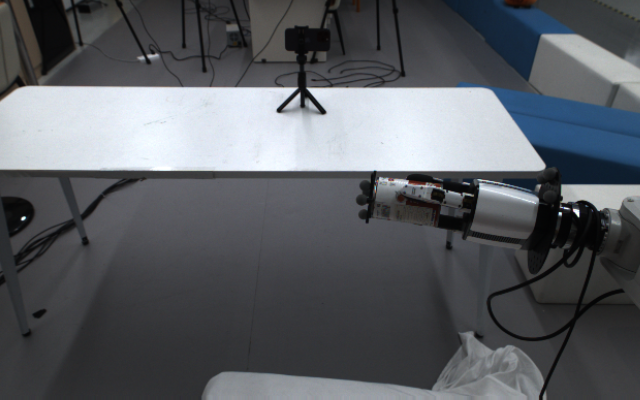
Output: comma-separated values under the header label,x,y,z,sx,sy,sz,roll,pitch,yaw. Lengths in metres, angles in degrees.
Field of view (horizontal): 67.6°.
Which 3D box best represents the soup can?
label,x,y,z,sx,sy,sz,roll,pitch,yaw
soup can,0.136,0.001,0.752,0.101,0.067,0.067,7,35,10
